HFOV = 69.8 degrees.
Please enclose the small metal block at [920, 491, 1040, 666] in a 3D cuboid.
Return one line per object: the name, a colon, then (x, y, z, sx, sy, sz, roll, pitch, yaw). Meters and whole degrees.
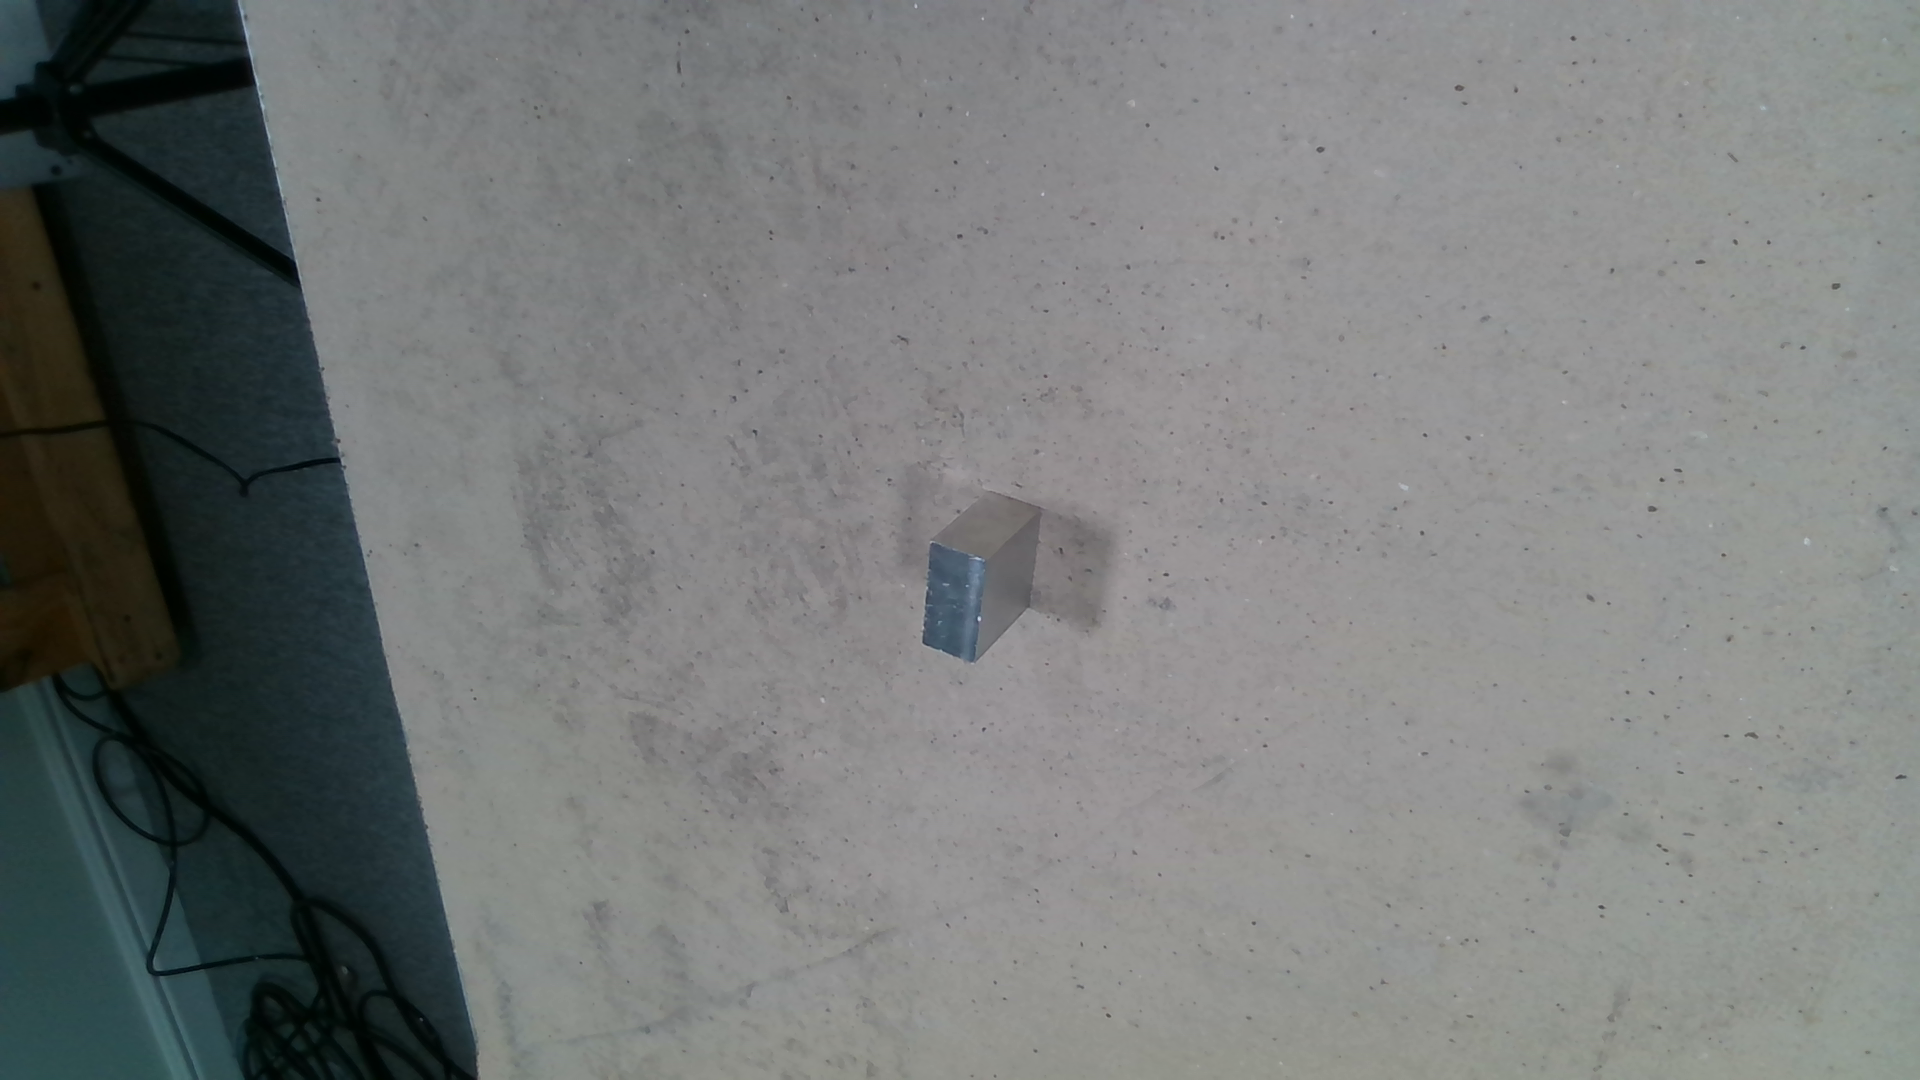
small metal block: (0.008, 0.015, 0.567, 0.025, 0.050, 0.050, 19, 124, 22)
